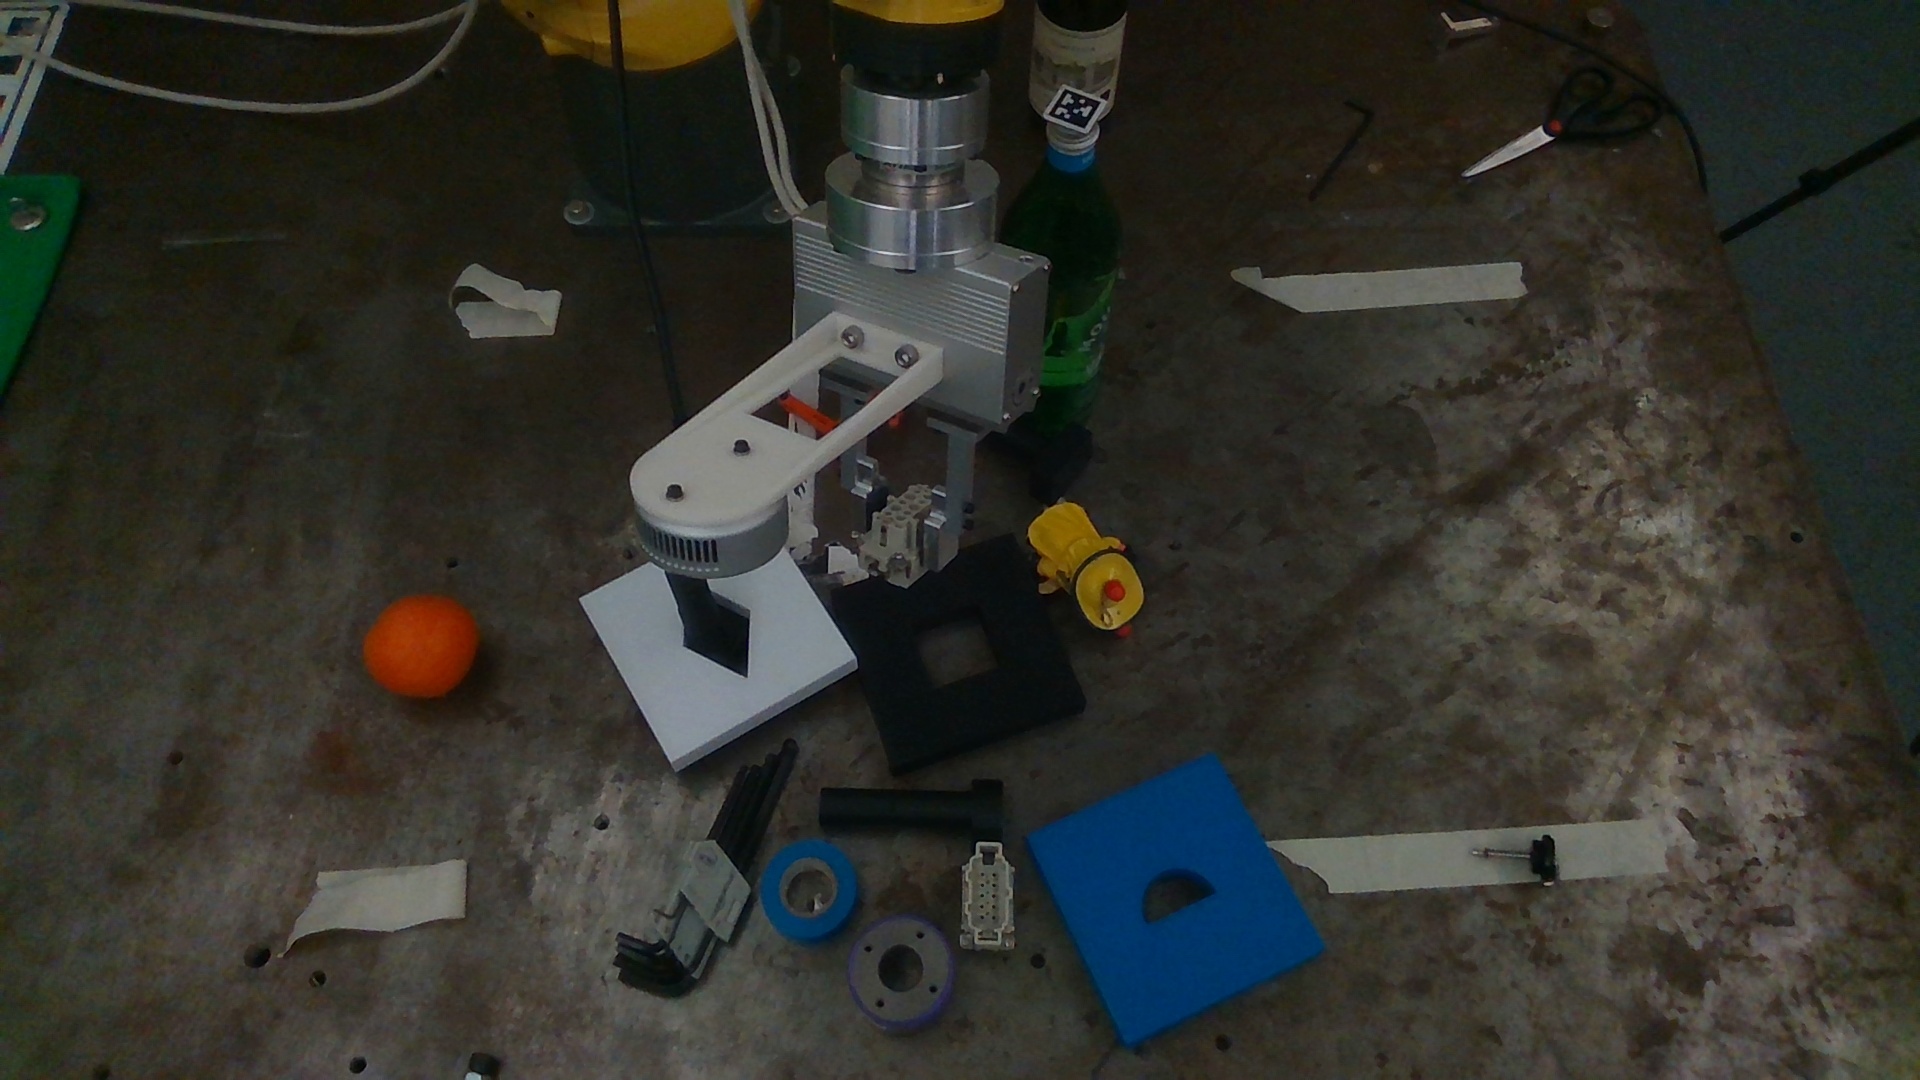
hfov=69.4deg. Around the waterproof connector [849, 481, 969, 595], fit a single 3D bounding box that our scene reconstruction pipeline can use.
[{"bbox_3d":[-0.027,-0.004,0.721,0.037,0.038,0.069,28,43,19],"label":"waterproof connector"}]
